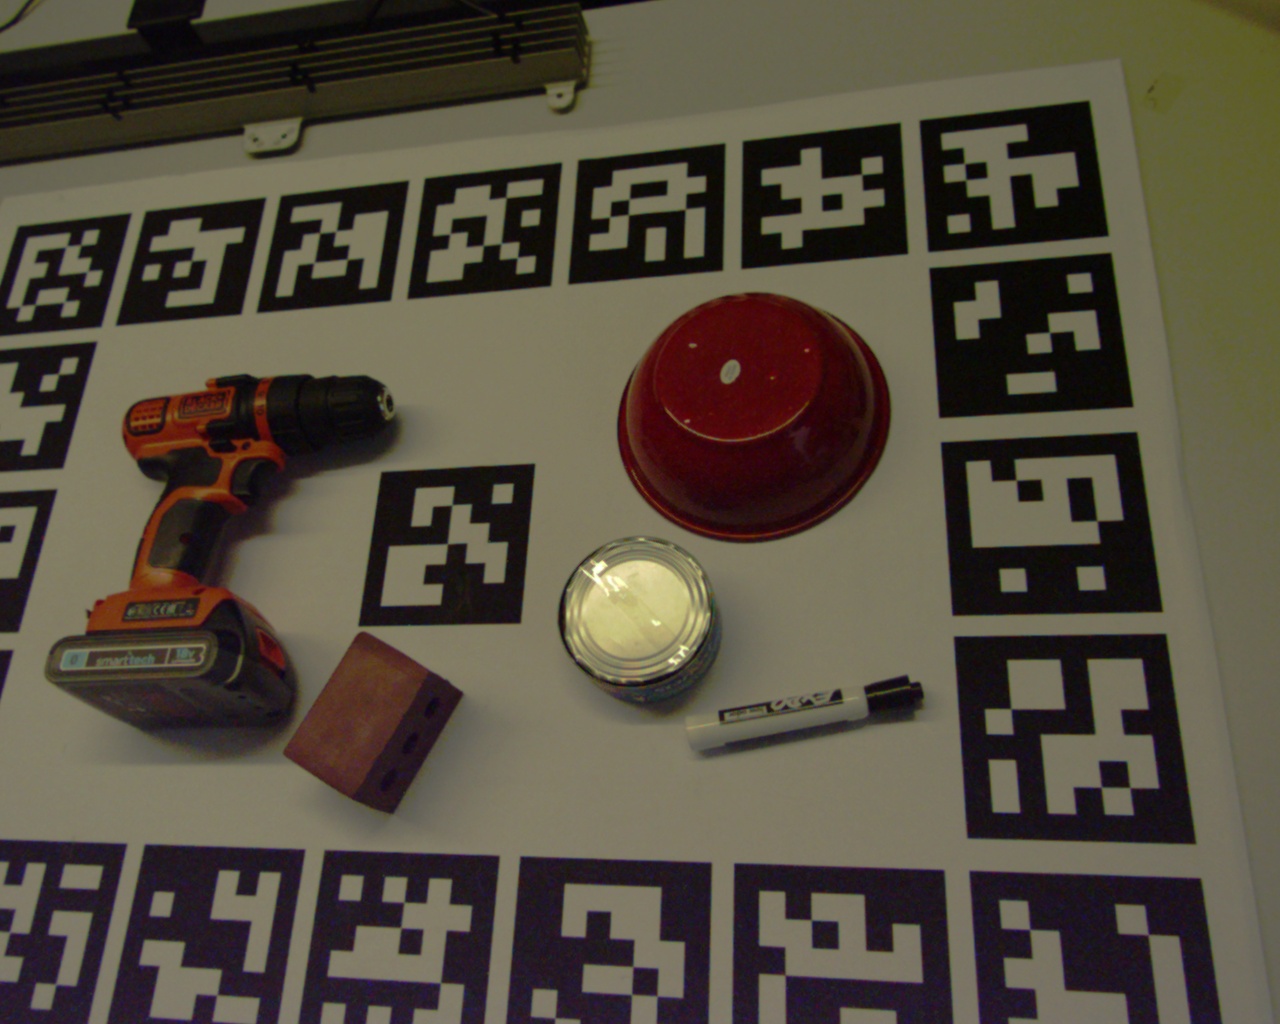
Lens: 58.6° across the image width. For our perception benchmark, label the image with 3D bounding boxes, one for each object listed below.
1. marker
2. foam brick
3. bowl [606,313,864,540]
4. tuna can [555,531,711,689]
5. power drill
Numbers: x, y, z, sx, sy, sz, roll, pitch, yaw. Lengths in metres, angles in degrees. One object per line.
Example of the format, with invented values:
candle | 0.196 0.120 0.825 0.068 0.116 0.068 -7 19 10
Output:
marker | 0.080 0.103 0.614 0.121 0.019 0.020 -12 67 8
foam brick | -0.147 0.119 0.655 0.052 0.052 0.078 21 75 19
bowl | 0.051 -0.066 0.688 0.162 0.054 0.162 -8 58 13
tuna can | -0.003 0.056 0.648 0.086 0.033 0.086 -4 66 9
power drill | -0.257 0.018 0.721 0.185 0.057 0.187 -3 64 9
